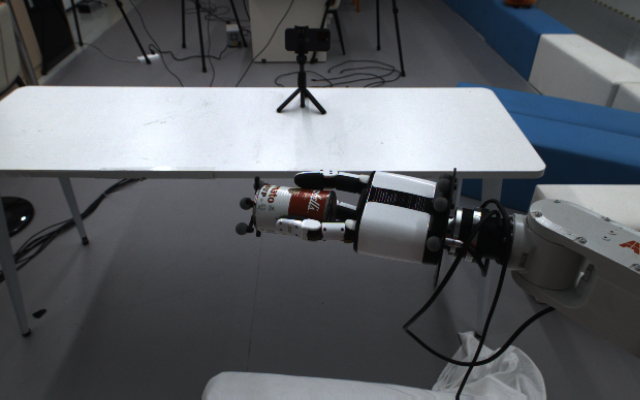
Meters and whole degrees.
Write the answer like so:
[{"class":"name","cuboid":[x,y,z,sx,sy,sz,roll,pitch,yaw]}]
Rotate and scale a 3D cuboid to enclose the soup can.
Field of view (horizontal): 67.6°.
[{"class":"soup can","cuboid":[-0.032,0.016,0.666,0.101,0.067,0.067,6,35,13]}]
